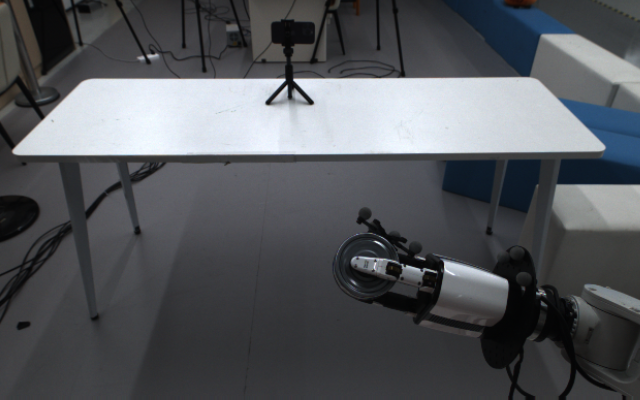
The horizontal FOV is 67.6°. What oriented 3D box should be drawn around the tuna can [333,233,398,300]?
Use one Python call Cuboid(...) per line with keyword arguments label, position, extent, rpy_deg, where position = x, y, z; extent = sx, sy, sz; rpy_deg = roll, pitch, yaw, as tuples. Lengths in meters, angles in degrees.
Cuboid(label="tuna can", position=(0.064, 0.092, 0.626), extent=(0.085, 0.034, 0.085), rpy_deg=(0, 74, 0))
